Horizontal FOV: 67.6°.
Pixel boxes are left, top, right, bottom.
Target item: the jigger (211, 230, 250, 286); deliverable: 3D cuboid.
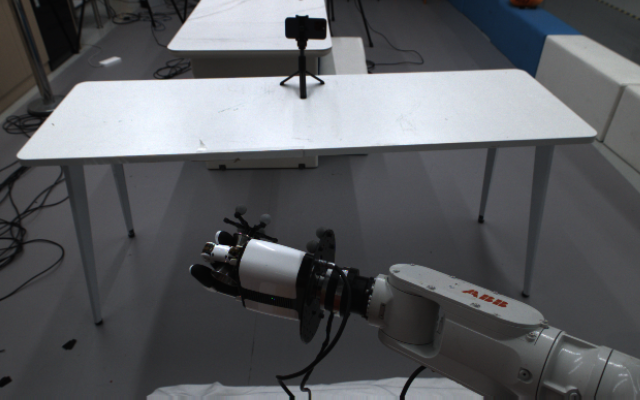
[{"bbox_3d":[-0.123,0.084,0.703,0.043,0.043,0.071,15,58,18],"label":"jigger"}]
